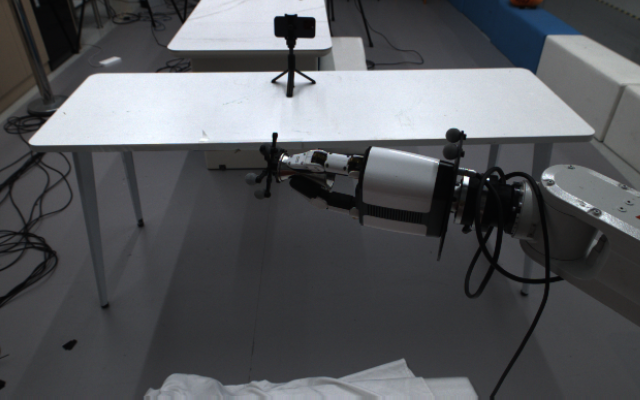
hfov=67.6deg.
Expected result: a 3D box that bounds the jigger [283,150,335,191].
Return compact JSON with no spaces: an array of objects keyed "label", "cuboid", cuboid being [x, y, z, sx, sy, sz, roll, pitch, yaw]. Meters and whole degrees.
[{"label":"jigger","cuboid":[-0.012,-0.043,0.635,0.071,0.043,0.043,9,35,16]}]
